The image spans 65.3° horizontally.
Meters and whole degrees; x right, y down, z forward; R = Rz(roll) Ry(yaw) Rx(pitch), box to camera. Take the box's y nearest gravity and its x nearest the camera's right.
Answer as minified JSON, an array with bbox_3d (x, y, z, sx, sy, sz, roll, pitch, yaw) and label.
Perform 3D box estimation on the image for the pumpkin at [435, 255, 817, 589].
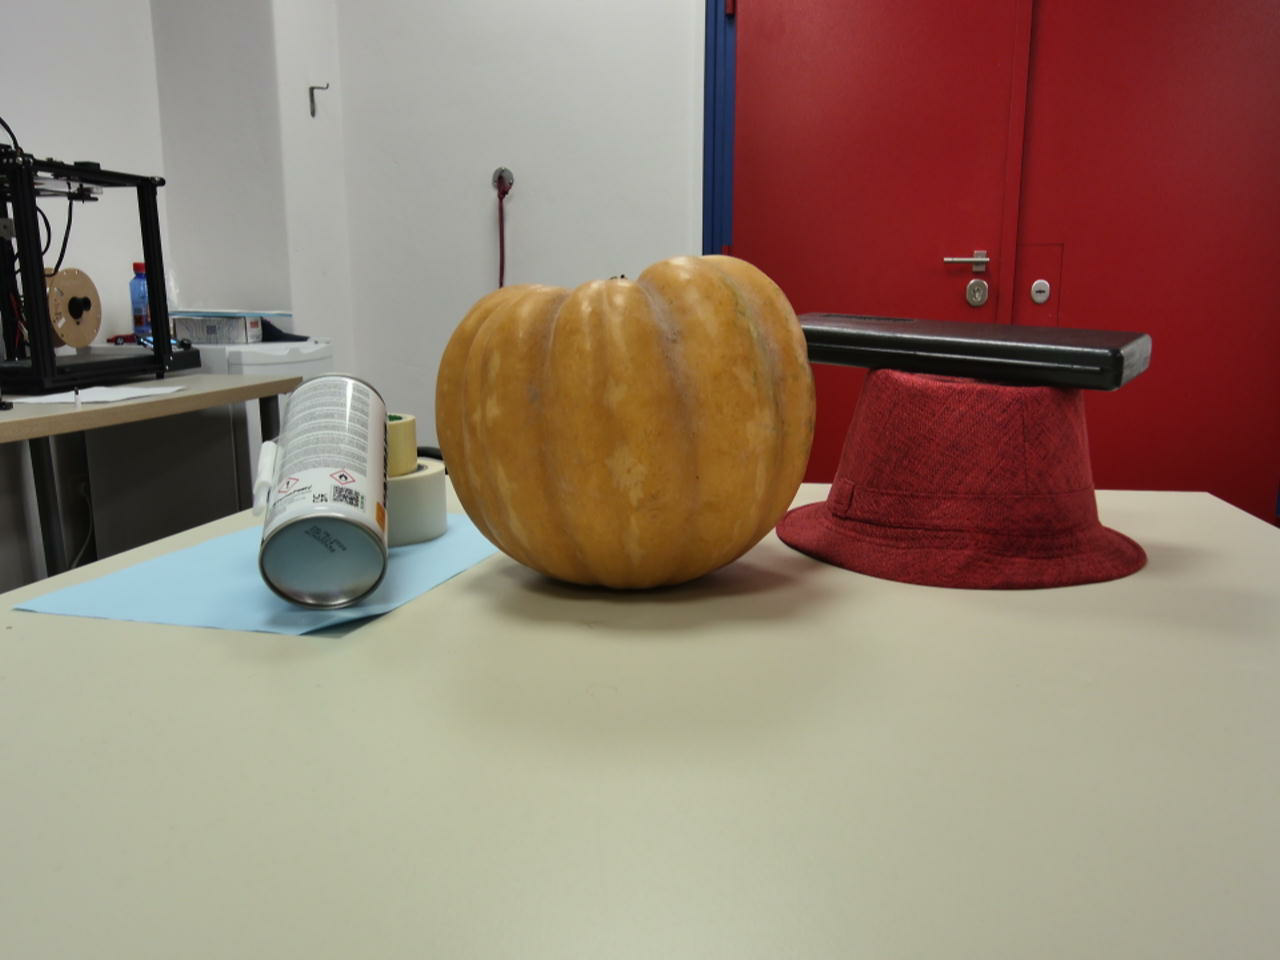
[{"bbox_3d":[-0.005,-0.035,0.608,0.230,0.194,0.230,0,7,0],"label":"pumpkin"}]
